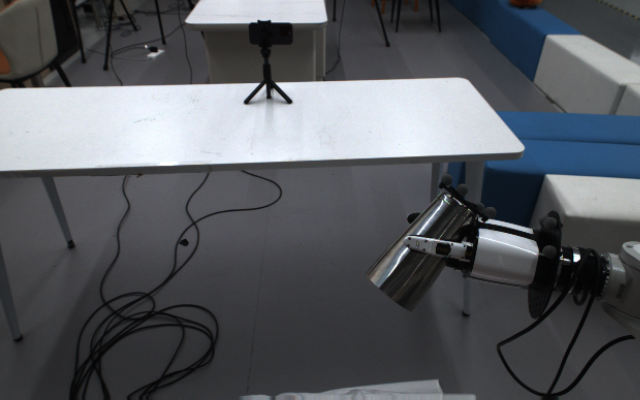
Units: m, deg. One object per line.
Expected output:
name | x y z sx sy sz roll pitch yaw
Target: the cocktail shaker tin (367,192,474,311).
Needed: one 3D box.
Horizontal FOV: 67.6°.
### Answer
cocktail shaker tin | 0.158 0.069 0.735 0.170 0.093 0.093 -50 46 4
